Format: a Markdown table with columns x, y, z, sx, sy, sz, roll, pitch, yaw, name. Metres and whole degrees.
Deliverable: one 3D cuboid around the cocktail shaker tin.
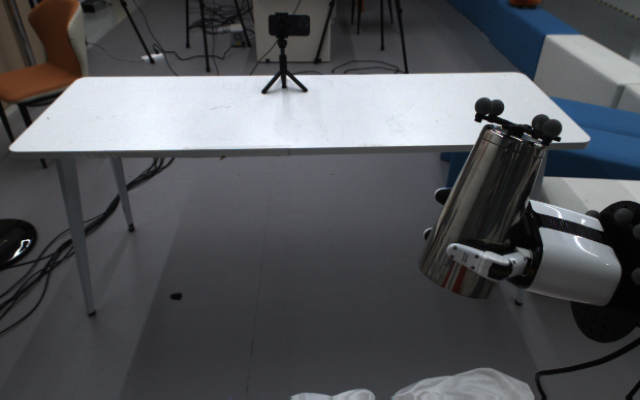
| x | y | z | sx | sy | sz | roll | pitch | yaw | name |
| --- | --- | --- | --- | --- | --- | --- | --- | --- | --- |
| 0.180 | 0.010 | 0.528 | 0.093 | 0.170 | 0.093 | 14 | 20 | -5 | cocktail shaker tin |
